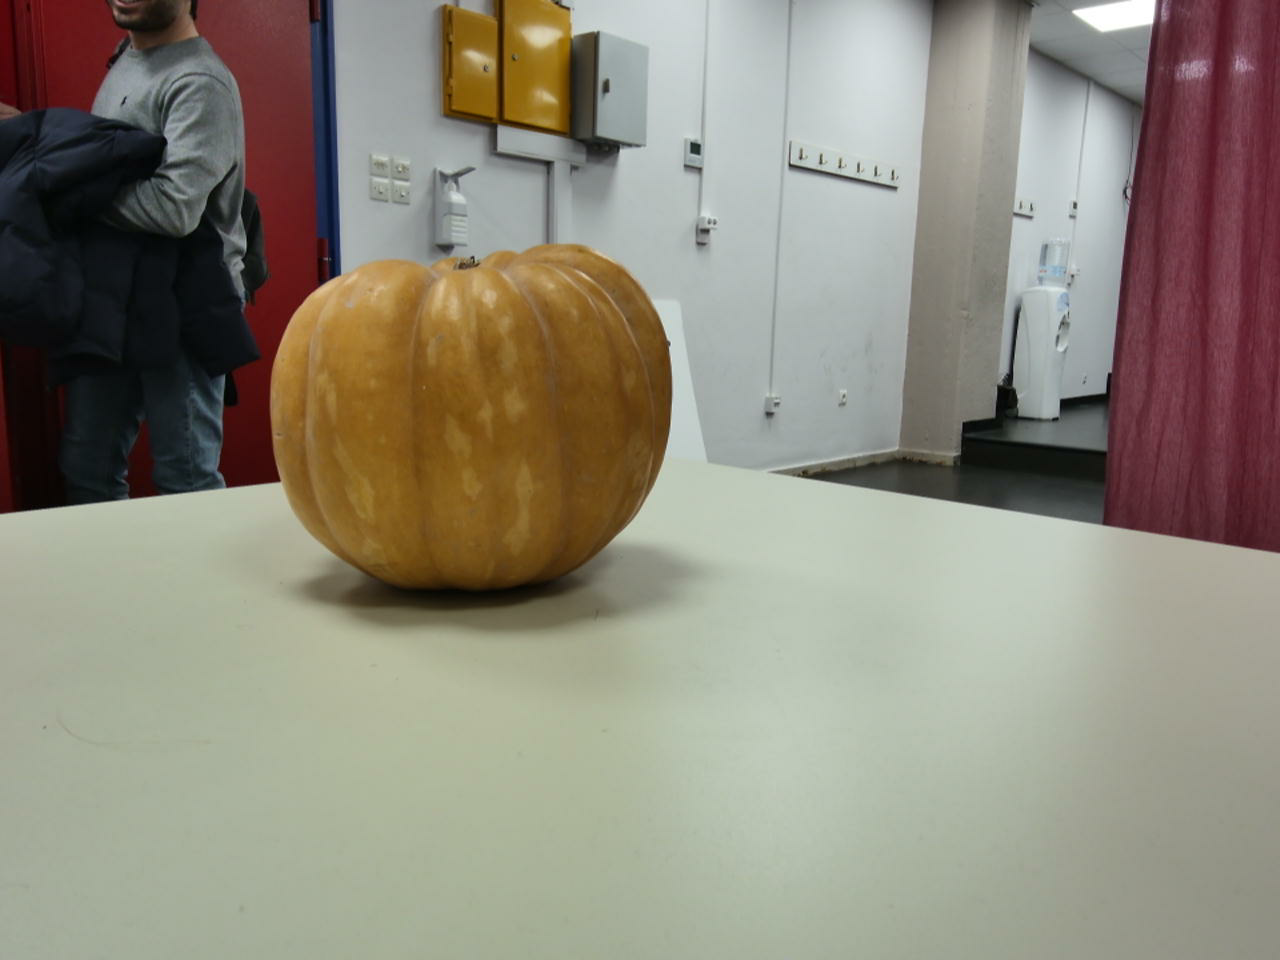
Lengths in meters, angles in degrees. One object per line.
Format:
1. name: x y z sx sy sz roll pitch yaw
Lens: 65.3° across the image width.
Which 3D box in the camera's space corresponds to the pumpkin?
1. pumpkin: -0.092 -0.038 0.572 0.230 0.194 0.230 0 8 0
